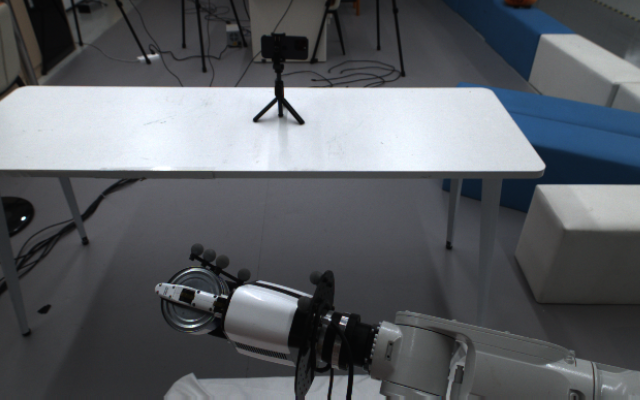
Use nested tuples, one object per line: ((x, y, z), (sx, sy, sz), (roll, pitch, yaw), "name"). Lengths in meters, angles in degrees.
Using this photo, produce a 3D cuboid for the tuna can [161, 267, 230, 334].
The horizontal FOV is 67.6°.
((-0.160, 0.133, 0.636), (0.085, 0.034, 0.085), (-4, 67, 10), "tuna can")
